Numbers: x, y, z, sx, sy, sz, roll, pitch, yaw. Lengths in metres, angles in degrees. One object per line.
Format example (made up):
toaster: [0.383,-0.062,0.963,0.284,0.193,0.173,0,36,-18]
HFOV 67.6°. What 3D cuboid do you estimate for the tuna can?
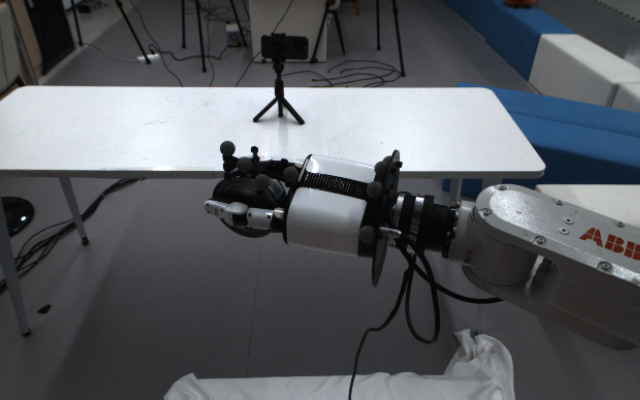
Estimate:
tuna can: [-0.082,0.000,0.585,0.085,0.085,0.034,12,33,14]
